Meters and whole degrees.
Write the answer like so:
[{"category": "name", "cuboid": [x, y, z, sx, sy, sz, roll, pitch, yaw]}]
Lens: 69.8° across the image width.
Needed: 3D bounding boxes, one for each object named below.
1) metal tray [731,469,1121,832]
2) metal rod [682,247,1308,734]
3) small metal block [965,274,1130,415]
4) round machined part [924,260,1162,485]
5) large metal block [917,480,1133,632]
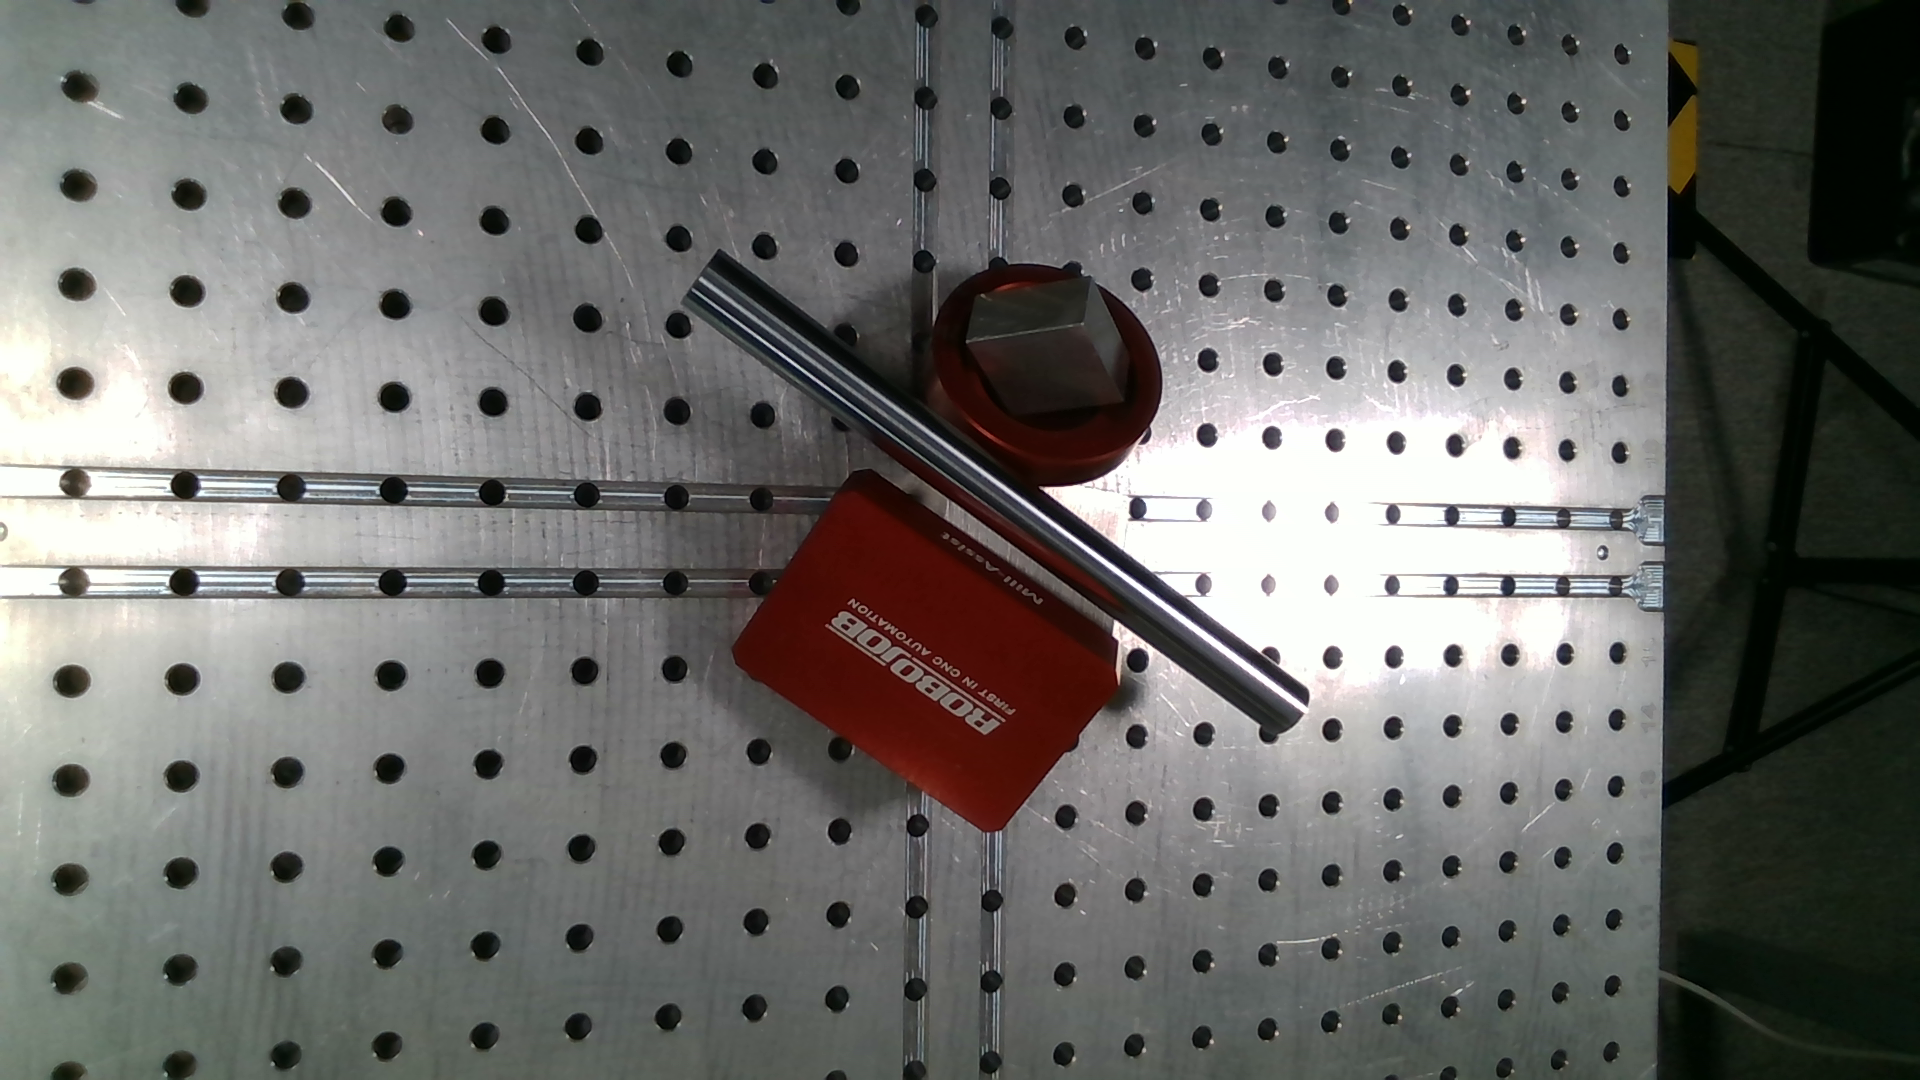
[{"category": "metal tray", "cuboid": [-0.013, 0.045, 0.545, 0.130, 0.030, 0.090, 35, 110, -4]}, {"category": "metal rod", "cuboid": [0.022, -0.012, 0.543, 0.300, 0.025, 0.025, 36, 78, -17]}, {"category": "small metal block", "cuboid": [0.036, -0.078, 0.558, 0.050, 0.050, 0.025, 54, 39, -48]}, {"category": "round machined part", "cuboid": [0.031, -0.065, 0.577, 0.098, 0.042, 0.098, 7, 63, -14]}, {"category": "large metal block", "cuboid": [0.021, 0.014, 0.582, 0.080, 0.050, 0.080, 9, 87, -20]}]
